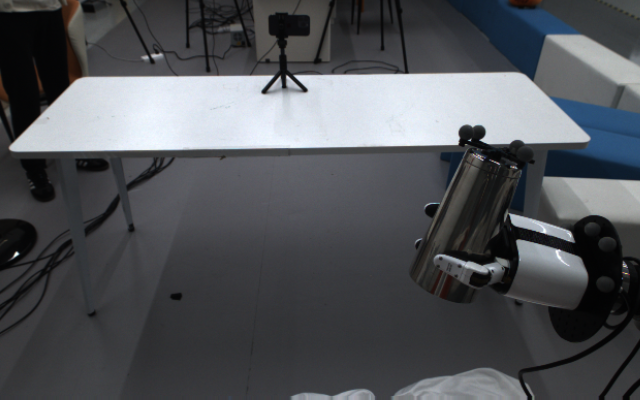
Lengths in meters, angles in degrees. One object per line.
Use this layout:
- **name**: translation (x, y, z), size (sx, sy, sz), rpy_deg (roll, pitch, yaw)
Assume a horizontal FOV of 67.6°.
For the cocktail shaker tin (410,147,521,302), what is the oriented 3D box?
- **cocktail shaker tin**: translation (0.181, 0.028, 0.590), size (0.093, 0.170, 0.093), rpy_deg (14, 20, -5)
